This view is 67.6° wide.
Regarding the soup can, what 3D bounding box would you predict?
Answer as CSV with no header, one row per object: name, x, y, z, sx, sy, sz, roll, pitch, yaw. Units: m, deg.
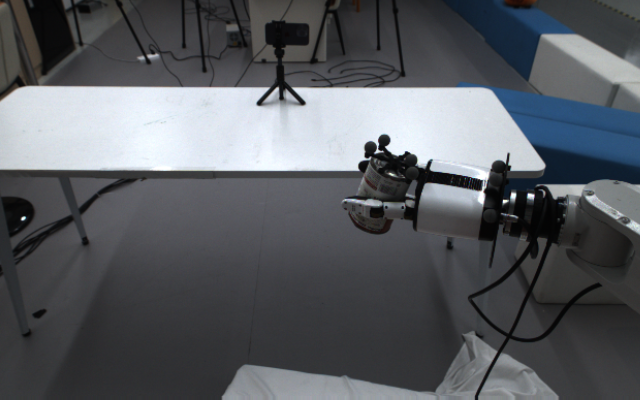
soup can,0.090,-0.009,0.708,0.067,0.101,0.067,13,35,-9
